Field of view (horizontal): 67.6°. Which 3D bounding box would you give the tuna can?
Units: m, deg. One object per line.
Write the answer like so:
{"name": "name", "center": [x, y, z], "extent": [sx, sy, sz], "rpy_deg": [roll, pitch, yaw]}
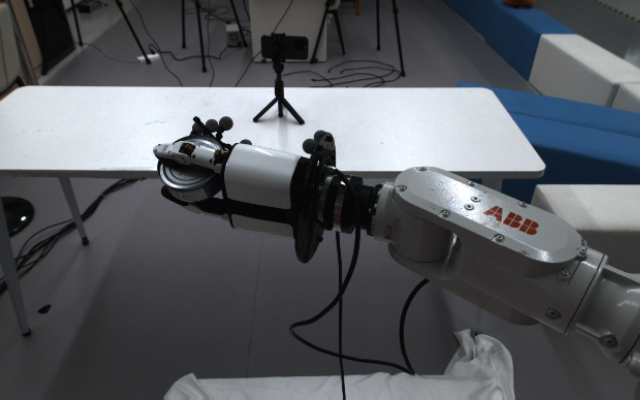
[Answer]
{"name": "tuna can", "center": [-0.159, -0.040, 0.618], "extent": [0.085, 0.034, 0.085], "rpy_deg": [-4, 56, 6]}
